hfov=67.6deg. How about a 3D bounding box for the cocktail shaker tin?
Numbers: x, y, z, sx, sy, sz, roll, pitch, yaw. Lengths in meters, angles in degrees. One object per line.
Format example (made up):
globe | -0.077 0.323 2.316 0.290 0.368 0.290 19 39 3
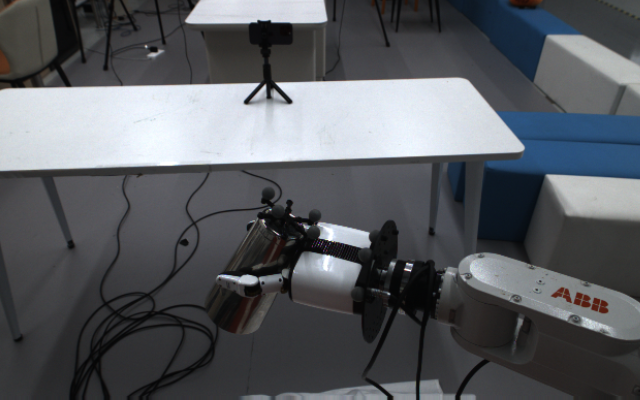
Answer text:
cocktail shaker tin | -0.086 0.091 0.674 0.093 0.170 0.093 25 29 -15
